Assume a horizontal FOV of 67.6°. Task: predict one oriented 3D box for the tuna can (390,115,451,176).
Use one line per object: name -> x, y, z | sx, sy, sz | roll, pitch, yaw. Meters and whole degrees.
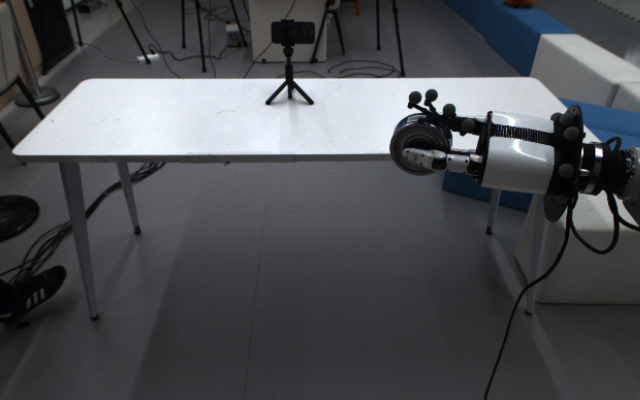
tuna can -> 0.147, -0.072, 0.687 | 0.085, 0.085, 0.034 | 12, 36, 14
